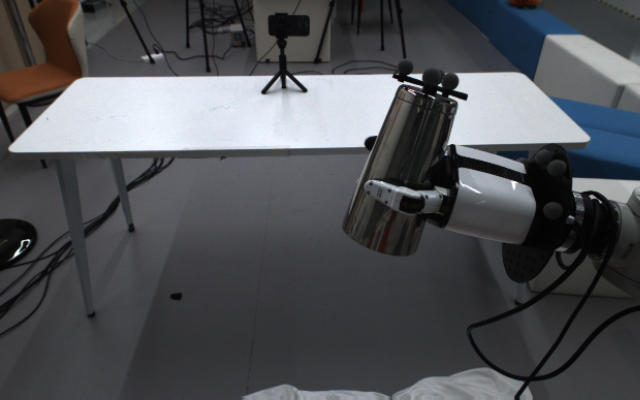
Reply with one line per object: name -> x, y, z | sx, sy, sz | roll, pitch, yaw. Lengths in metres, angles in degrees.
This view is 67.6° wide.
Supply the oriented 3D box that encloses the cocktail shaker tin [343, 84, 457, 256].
cocktail shaker tin -> 0.093, -0.035, 0.539 | 0.093, 0.170, 0.093 | 15, 19, -5
